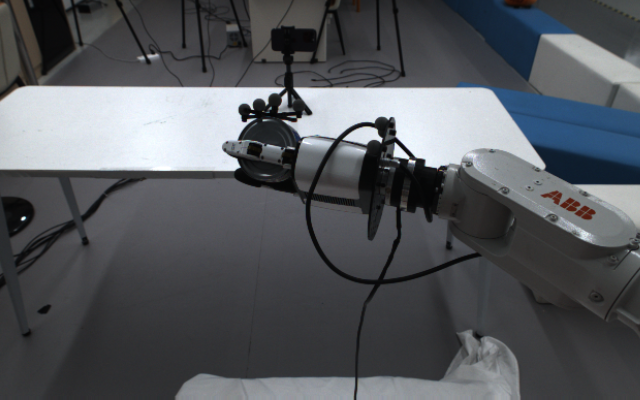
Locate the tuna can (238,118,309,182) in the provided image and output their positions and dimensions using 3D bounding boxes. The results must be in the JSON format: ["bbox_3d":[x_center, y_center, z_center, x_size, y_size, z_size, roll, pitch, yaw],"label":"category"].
[{"bbox_3d":[-0.067,-0.067,0.653,0.085,0.085,0.034,15,1,18],"label":"tuna can"}]
